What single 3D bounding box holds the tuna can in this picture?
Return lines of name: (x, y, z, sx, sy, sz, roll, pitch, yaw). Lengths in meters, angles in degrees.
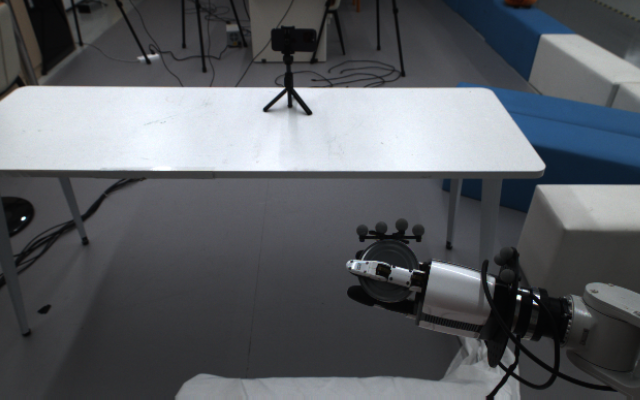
tuna can: (0.098, 0.099, 0.675, 0.085, 0.034, 0.085, -5, 73, 15)
